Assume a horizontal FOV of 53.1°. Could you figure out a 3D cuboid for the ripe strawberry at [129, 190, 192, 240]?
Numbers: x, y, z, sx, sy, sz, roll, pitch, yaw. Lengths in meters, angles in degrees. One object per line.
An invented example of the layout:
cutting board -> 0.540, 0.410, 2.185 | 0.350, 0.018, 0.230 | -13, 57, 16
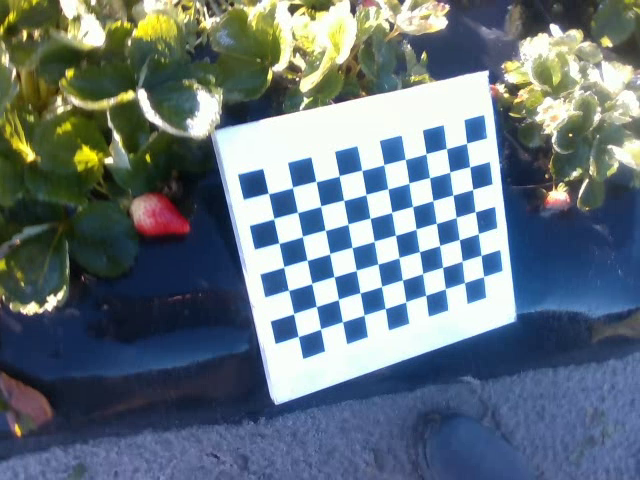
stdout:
ripe strawberry -> -0.155, -0.017, 0.609 | 0.065, 0.040, 0.040 | 28, -4, -22
